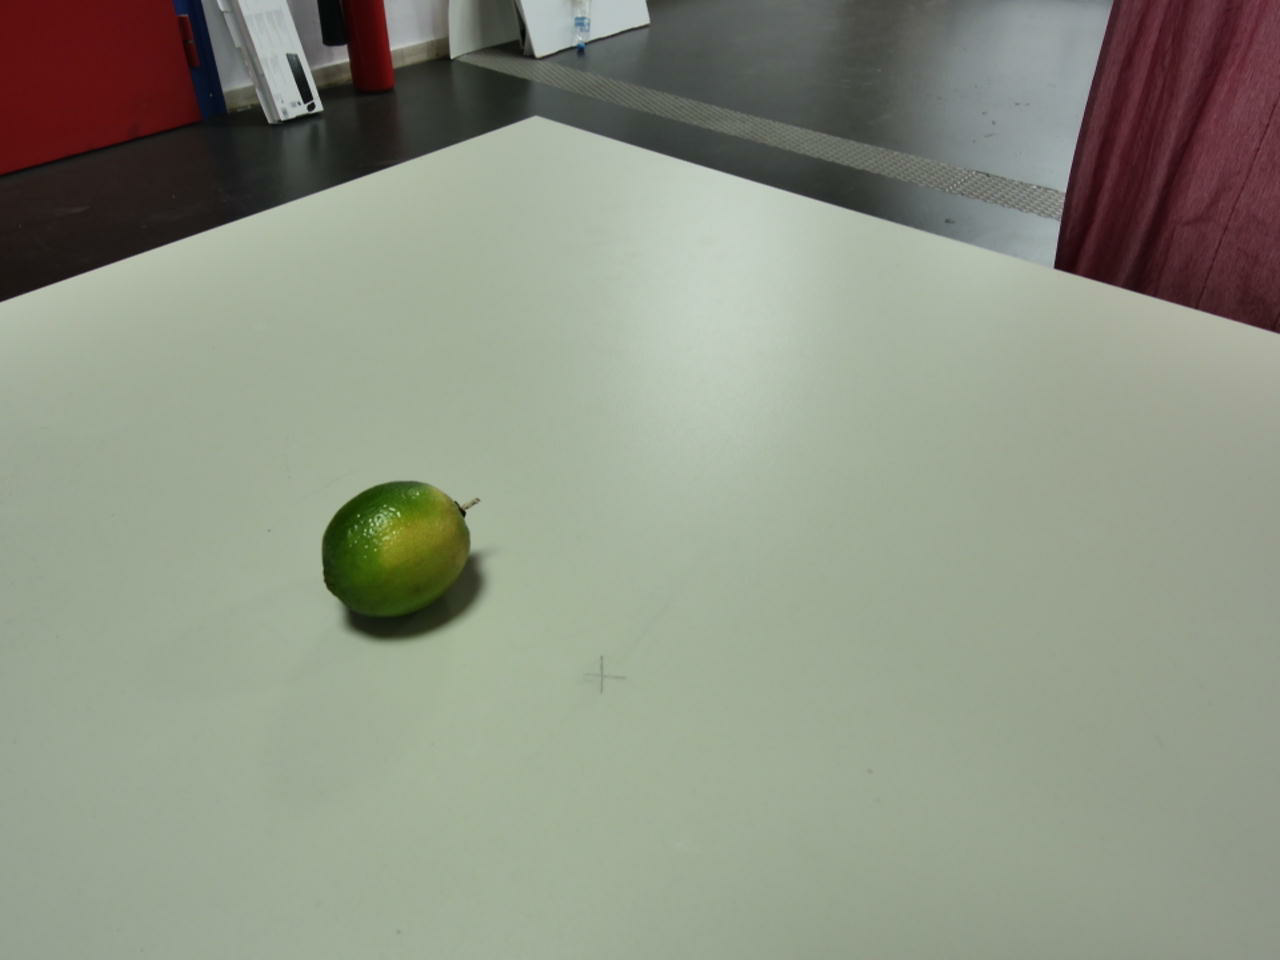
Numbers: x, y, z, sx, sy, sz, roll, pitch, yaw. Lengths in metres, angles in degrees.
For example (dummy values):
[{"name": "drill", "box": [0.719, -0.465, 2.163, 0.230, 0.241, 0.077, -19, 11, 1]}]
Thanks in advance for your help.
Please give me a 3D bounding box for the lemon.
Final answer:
[{"name": "lemon", "box": [-0.094, 0.026, 0.387, 0.055, 0.050, 0.054, 0, 36, -2]}]
